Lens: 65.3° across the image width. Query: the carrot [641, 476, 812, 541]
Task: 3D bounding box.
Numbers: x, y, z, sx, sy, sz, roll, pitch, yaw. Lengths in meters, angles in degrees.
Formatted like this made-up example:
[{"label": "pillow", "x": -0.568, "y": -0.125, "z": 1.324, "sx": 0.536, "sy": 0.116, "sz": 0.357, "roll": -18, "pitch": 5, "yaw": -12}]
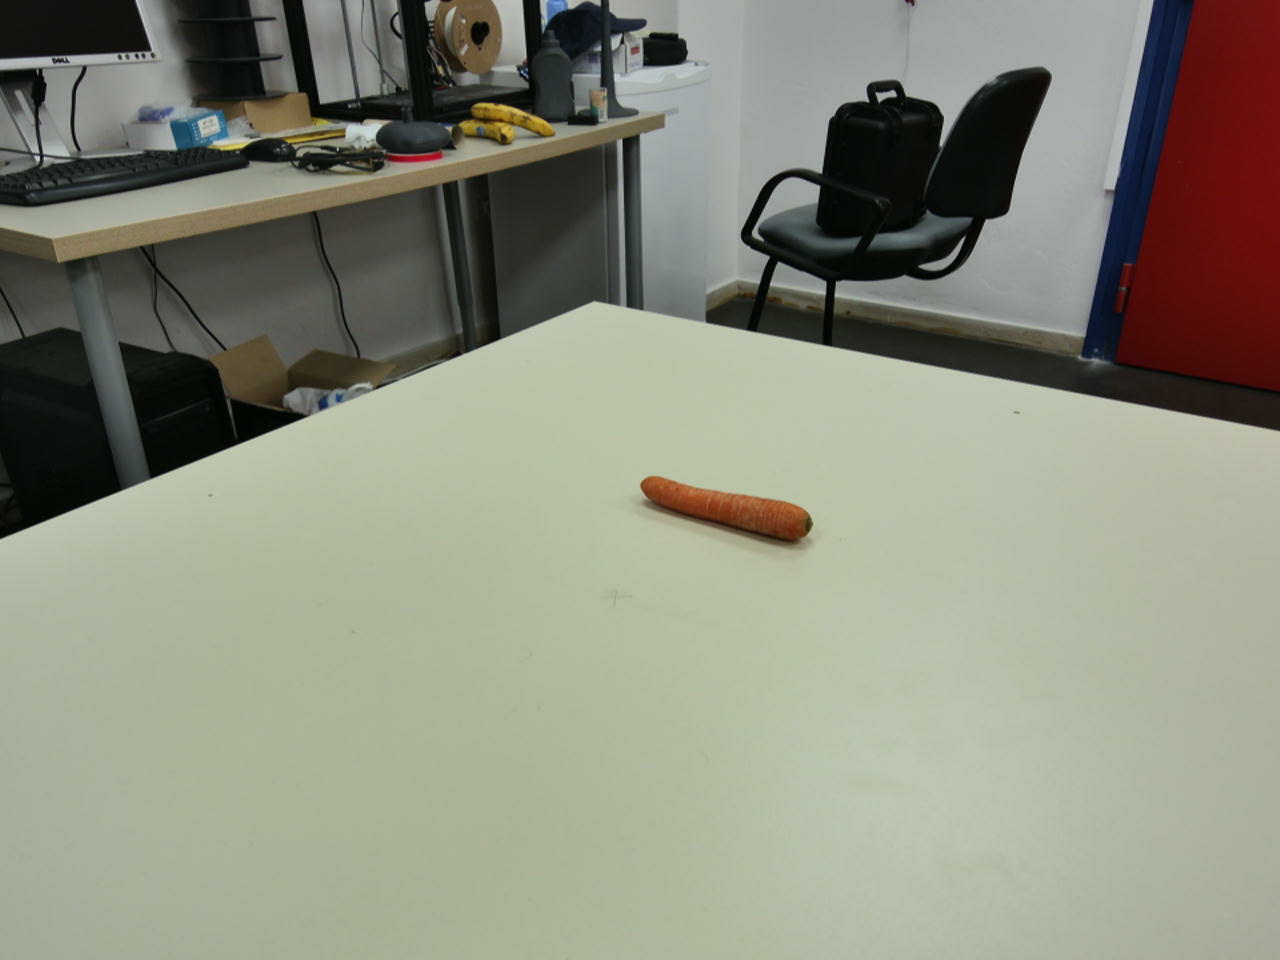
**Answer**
[{"label": "carrot", "x": 0.053, "y": 0.016, "z": 0.640, "sx": 0.122, "sy": 0.023, "sz": 0.024, "roll": 15, "pitch": 29, "yaw": 29}]
